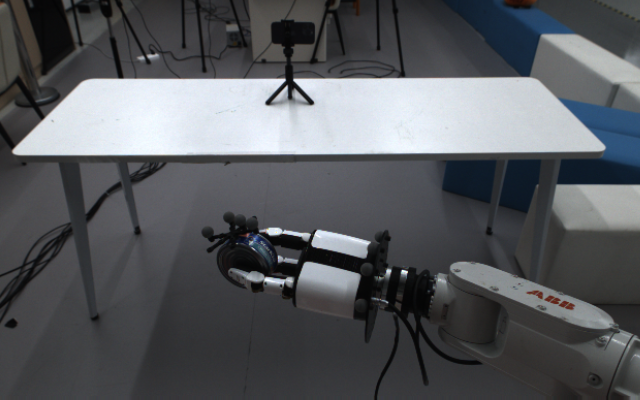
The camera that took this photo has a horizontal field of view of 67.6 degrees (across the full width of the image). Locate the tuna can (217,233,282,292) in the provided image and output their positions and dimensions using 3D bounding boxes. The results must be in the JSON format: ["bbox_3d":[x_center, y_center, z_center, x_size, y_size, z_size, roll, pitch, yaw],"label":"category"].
[{"bbox_3d":[-0.104,0.095,0.708,0.085,0.085,0.034,11,34,13],"label":"tuna can"}]
